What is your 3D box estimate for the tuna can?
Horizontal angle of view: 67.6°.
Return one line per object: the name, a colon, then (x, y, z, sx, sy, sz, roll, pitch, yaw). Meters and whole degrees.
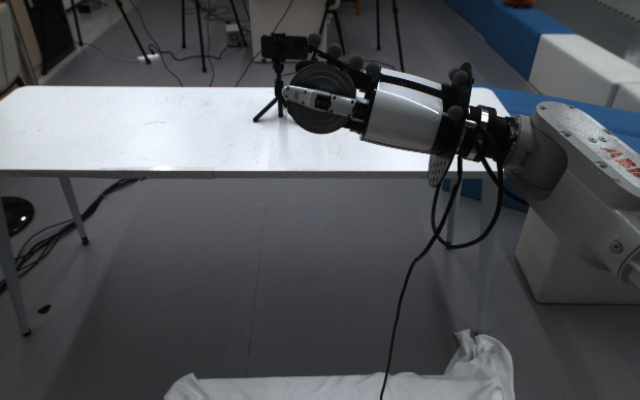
tuna can: (0.004, -0.130, 0.609, 0.085, 0.085, 0.034, 7, 16, 6)
